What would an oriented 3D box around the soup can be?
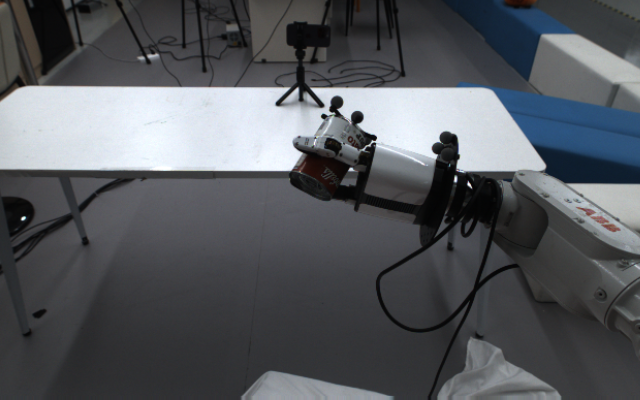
[{"bbox_3d":[0.012,-0.058,0.668,0.067,0.067,0.101,22,71,27],"label":"soup can"}]
